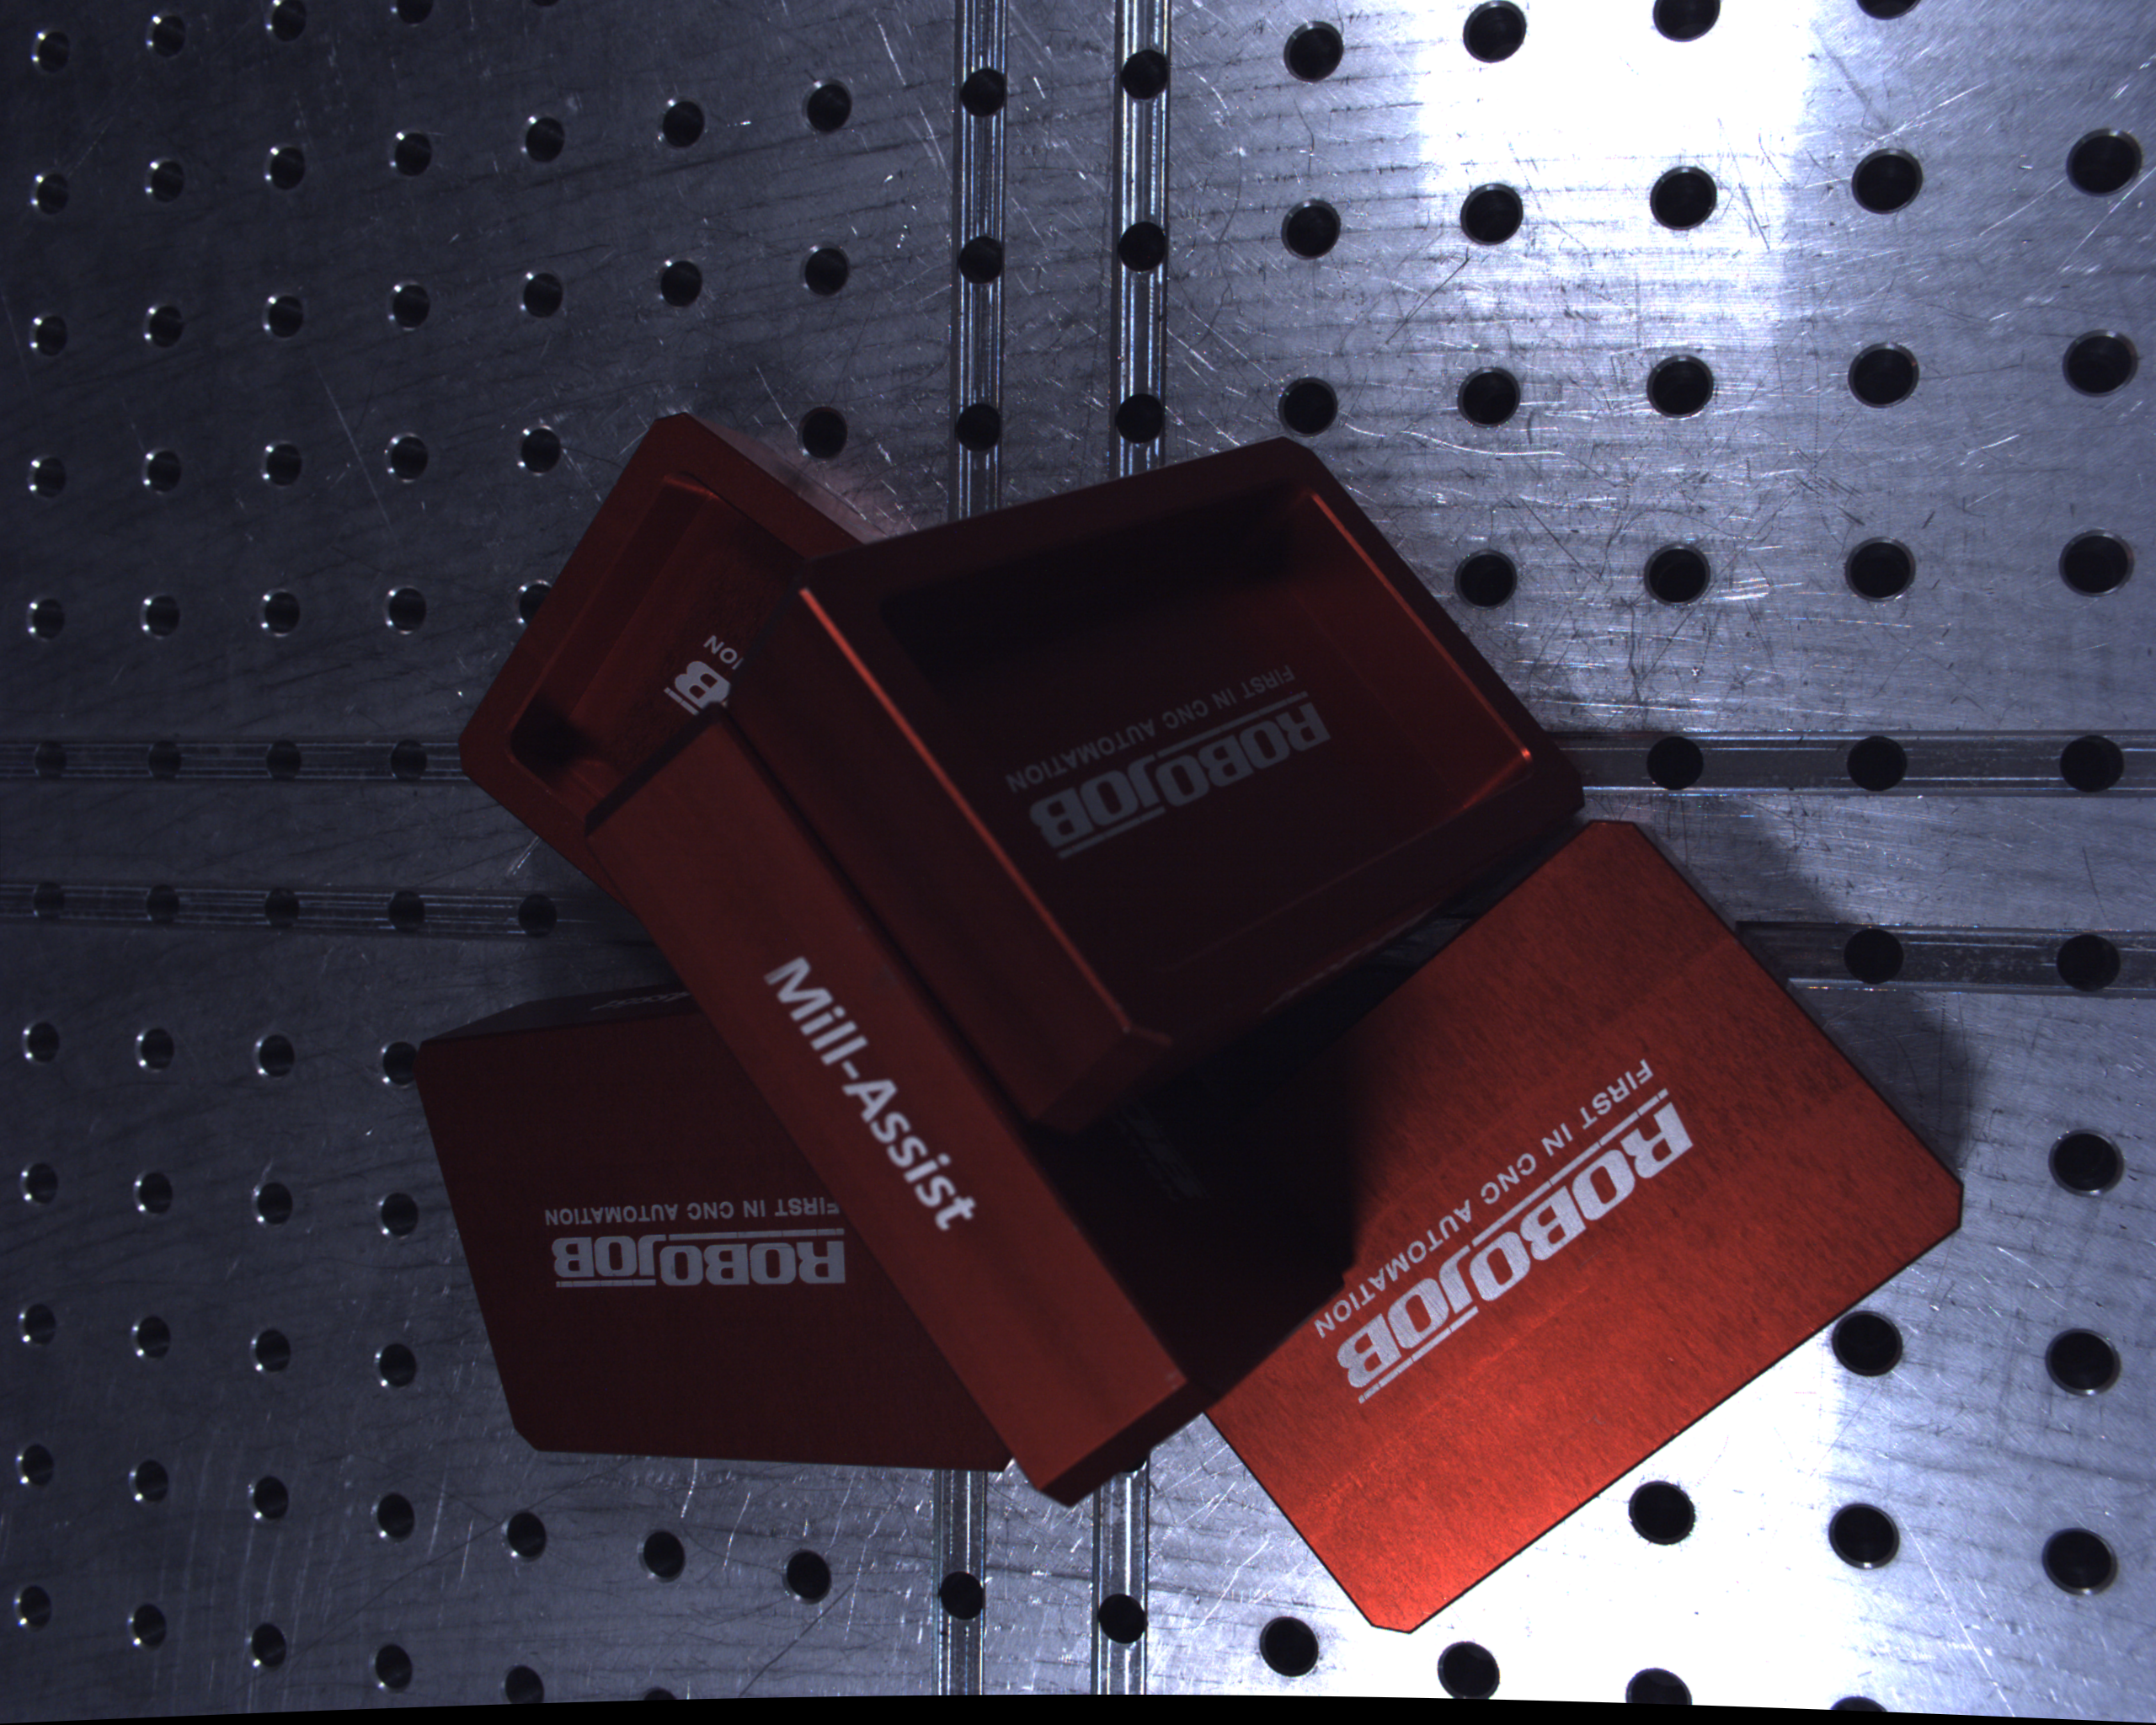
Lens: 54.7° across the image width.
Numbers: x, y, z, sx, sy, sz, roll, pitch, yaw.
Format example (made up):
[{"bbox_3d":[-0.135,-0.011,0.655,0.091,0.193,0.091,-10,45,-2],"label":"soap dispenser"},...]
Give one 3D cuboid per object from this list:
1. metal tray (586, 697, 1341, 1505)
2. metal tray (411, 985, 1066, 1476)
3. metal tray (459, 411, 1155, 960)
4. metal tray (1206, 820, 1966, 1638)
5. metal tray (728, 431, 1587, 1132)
[{"bbox_3d":[-0.015,0.034,0.350,0.030,0.090,0.130,-40,78,15],"label":"metal tray"},{"bbox_3d":[-0.066,0.069,0.407,0.130,0.030,0.089,-9,98,34],"label":"metal tray"},{"bbox_3d":[-0.054,-0.020,0.427,0.130,0.030,0.090,38,102,15],"label":"metal tray"},{"bbox_3d":[0.079,0.065,0.380,0.130,0.030,0.090,-43,77,14],"label":"metal tray"},{"bbox_3d":[0.019,-0.021,0.350,0.090,0.131,0.030,53,134,12],"label":"metal tray"}]
